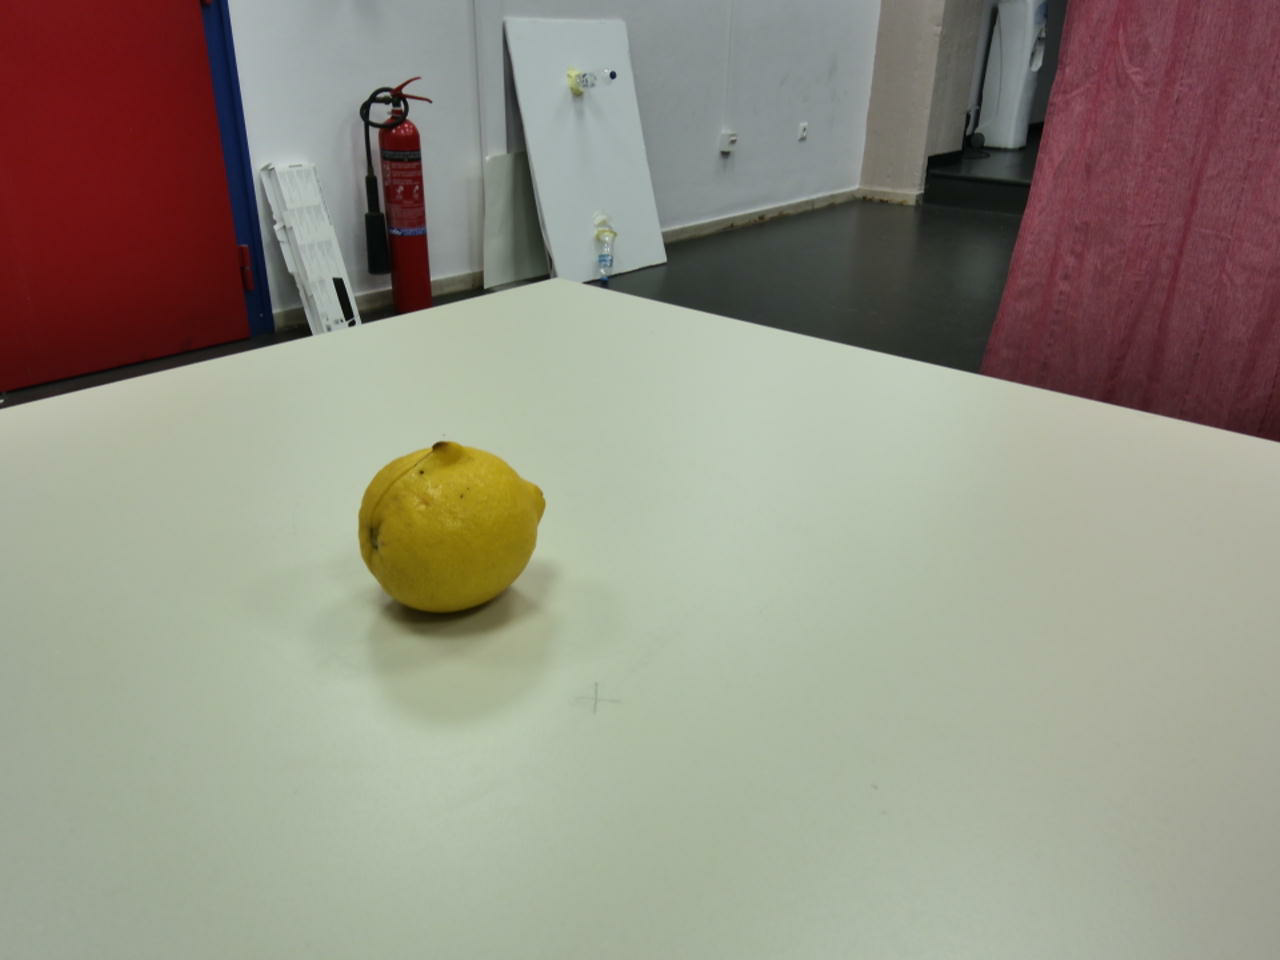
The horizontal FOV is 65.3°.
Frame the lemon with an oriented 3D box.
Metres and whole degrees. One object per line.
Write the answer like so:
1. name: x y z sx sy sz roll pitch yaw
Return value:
1. lemon: -0.078 0.016 0.405 0.071 0.071 0.070 2 23 5
